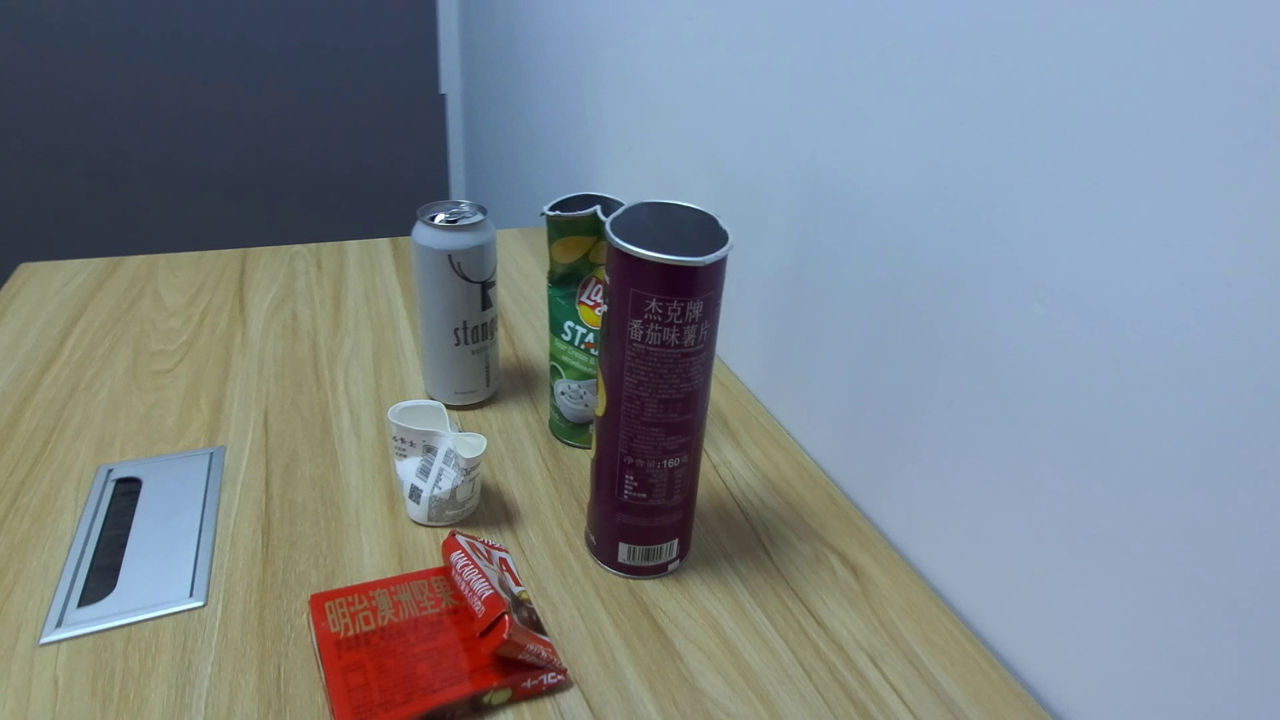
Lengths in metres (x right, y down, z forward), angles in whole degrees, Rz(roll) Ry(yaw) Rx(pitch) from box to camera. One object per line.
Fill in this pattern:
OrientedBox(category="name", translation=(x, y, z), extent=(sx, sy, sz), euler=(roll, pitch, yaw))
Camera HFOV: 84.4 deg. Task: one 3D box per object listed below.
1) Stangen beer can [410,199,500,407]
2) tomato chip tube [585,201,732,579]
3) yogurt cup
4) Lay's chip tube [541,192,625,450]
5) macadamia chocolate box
OrientedBox(category="Stangen beer can", translation=(-0.156, -0.045, 0.604), extent=(0.067, 0.171, 0.067), euler=(5, 31, -2))
OrientedBox(category="tomato chip tube", translation=(0.009, 0.027, 0.438), extent=(0.076, 0.234, 0.080), euler=(23, 36, 26))
OrientedBox(category="yogurt cup", translation=(-0.143, 0.074, 0.503), extent=(0.075, 0.071, 0.053), euler=(6, 33, 3))
OrientedBox(category="Lay's chip tube", translation=(-0.035, -0.025, 0.542), extent=(0.077, 0.201, 0.069), euler=(2, 33, -3))
OrientedBox(category="macadamia chocolate box", translation=(-0.120, 0.155, 0.410), extent=(0.127, 0.056, 0.111), euler=(-15, 21, -26))
